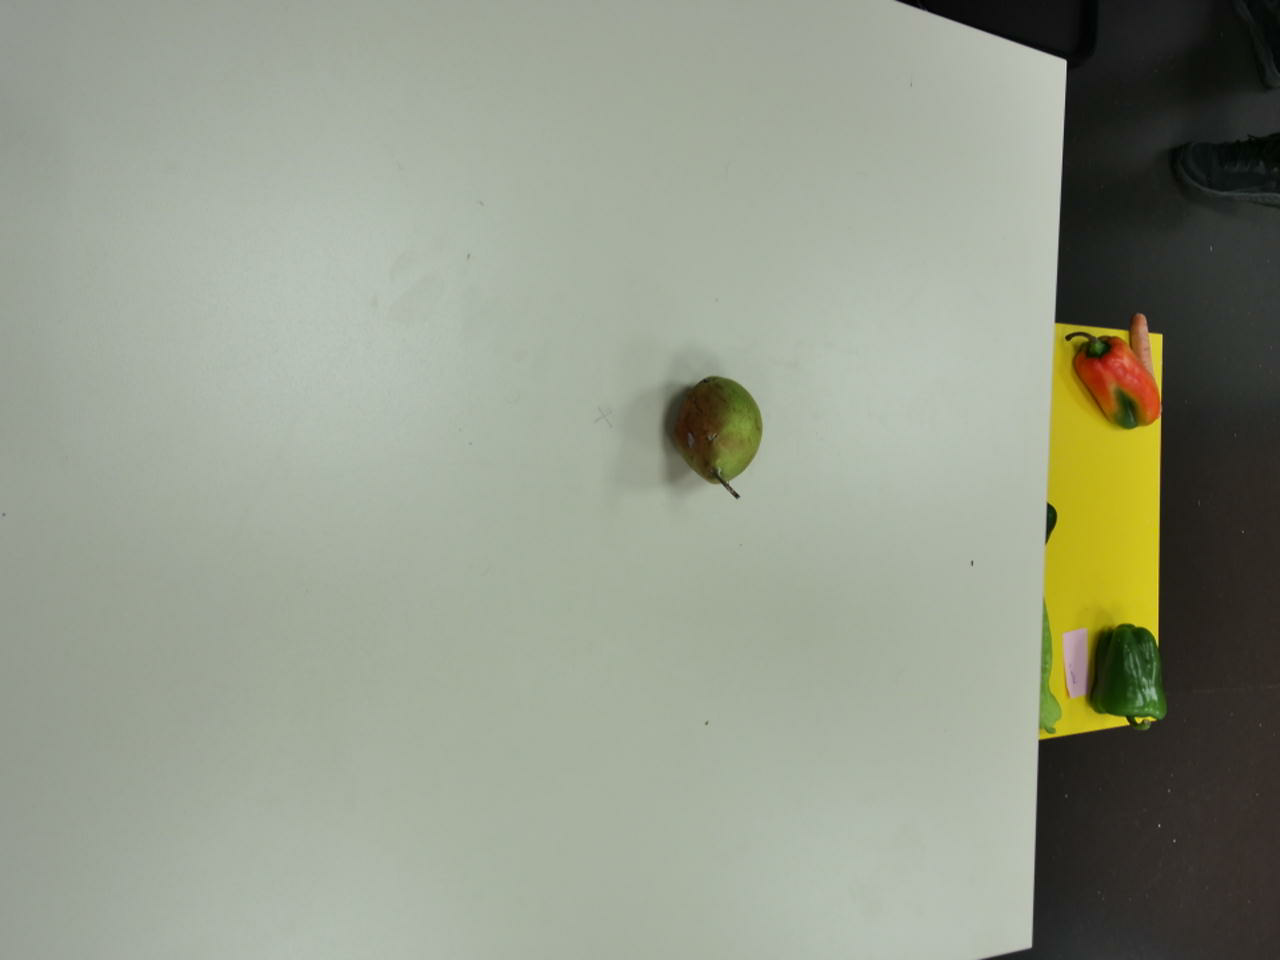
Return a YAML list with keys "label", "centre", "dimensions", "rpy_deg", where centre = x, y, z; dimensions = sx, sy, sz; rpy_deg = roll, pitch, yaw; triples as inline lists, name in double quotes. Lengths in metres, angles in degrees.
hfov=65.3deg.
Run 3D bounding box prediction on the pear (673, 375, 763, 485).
- label: "pear"
  centre: [0.057, -0.038, 0.728]
  dimensions: [0.070, 0.069, 0.068]
  rpy_deg: [-37, 108, -22]
